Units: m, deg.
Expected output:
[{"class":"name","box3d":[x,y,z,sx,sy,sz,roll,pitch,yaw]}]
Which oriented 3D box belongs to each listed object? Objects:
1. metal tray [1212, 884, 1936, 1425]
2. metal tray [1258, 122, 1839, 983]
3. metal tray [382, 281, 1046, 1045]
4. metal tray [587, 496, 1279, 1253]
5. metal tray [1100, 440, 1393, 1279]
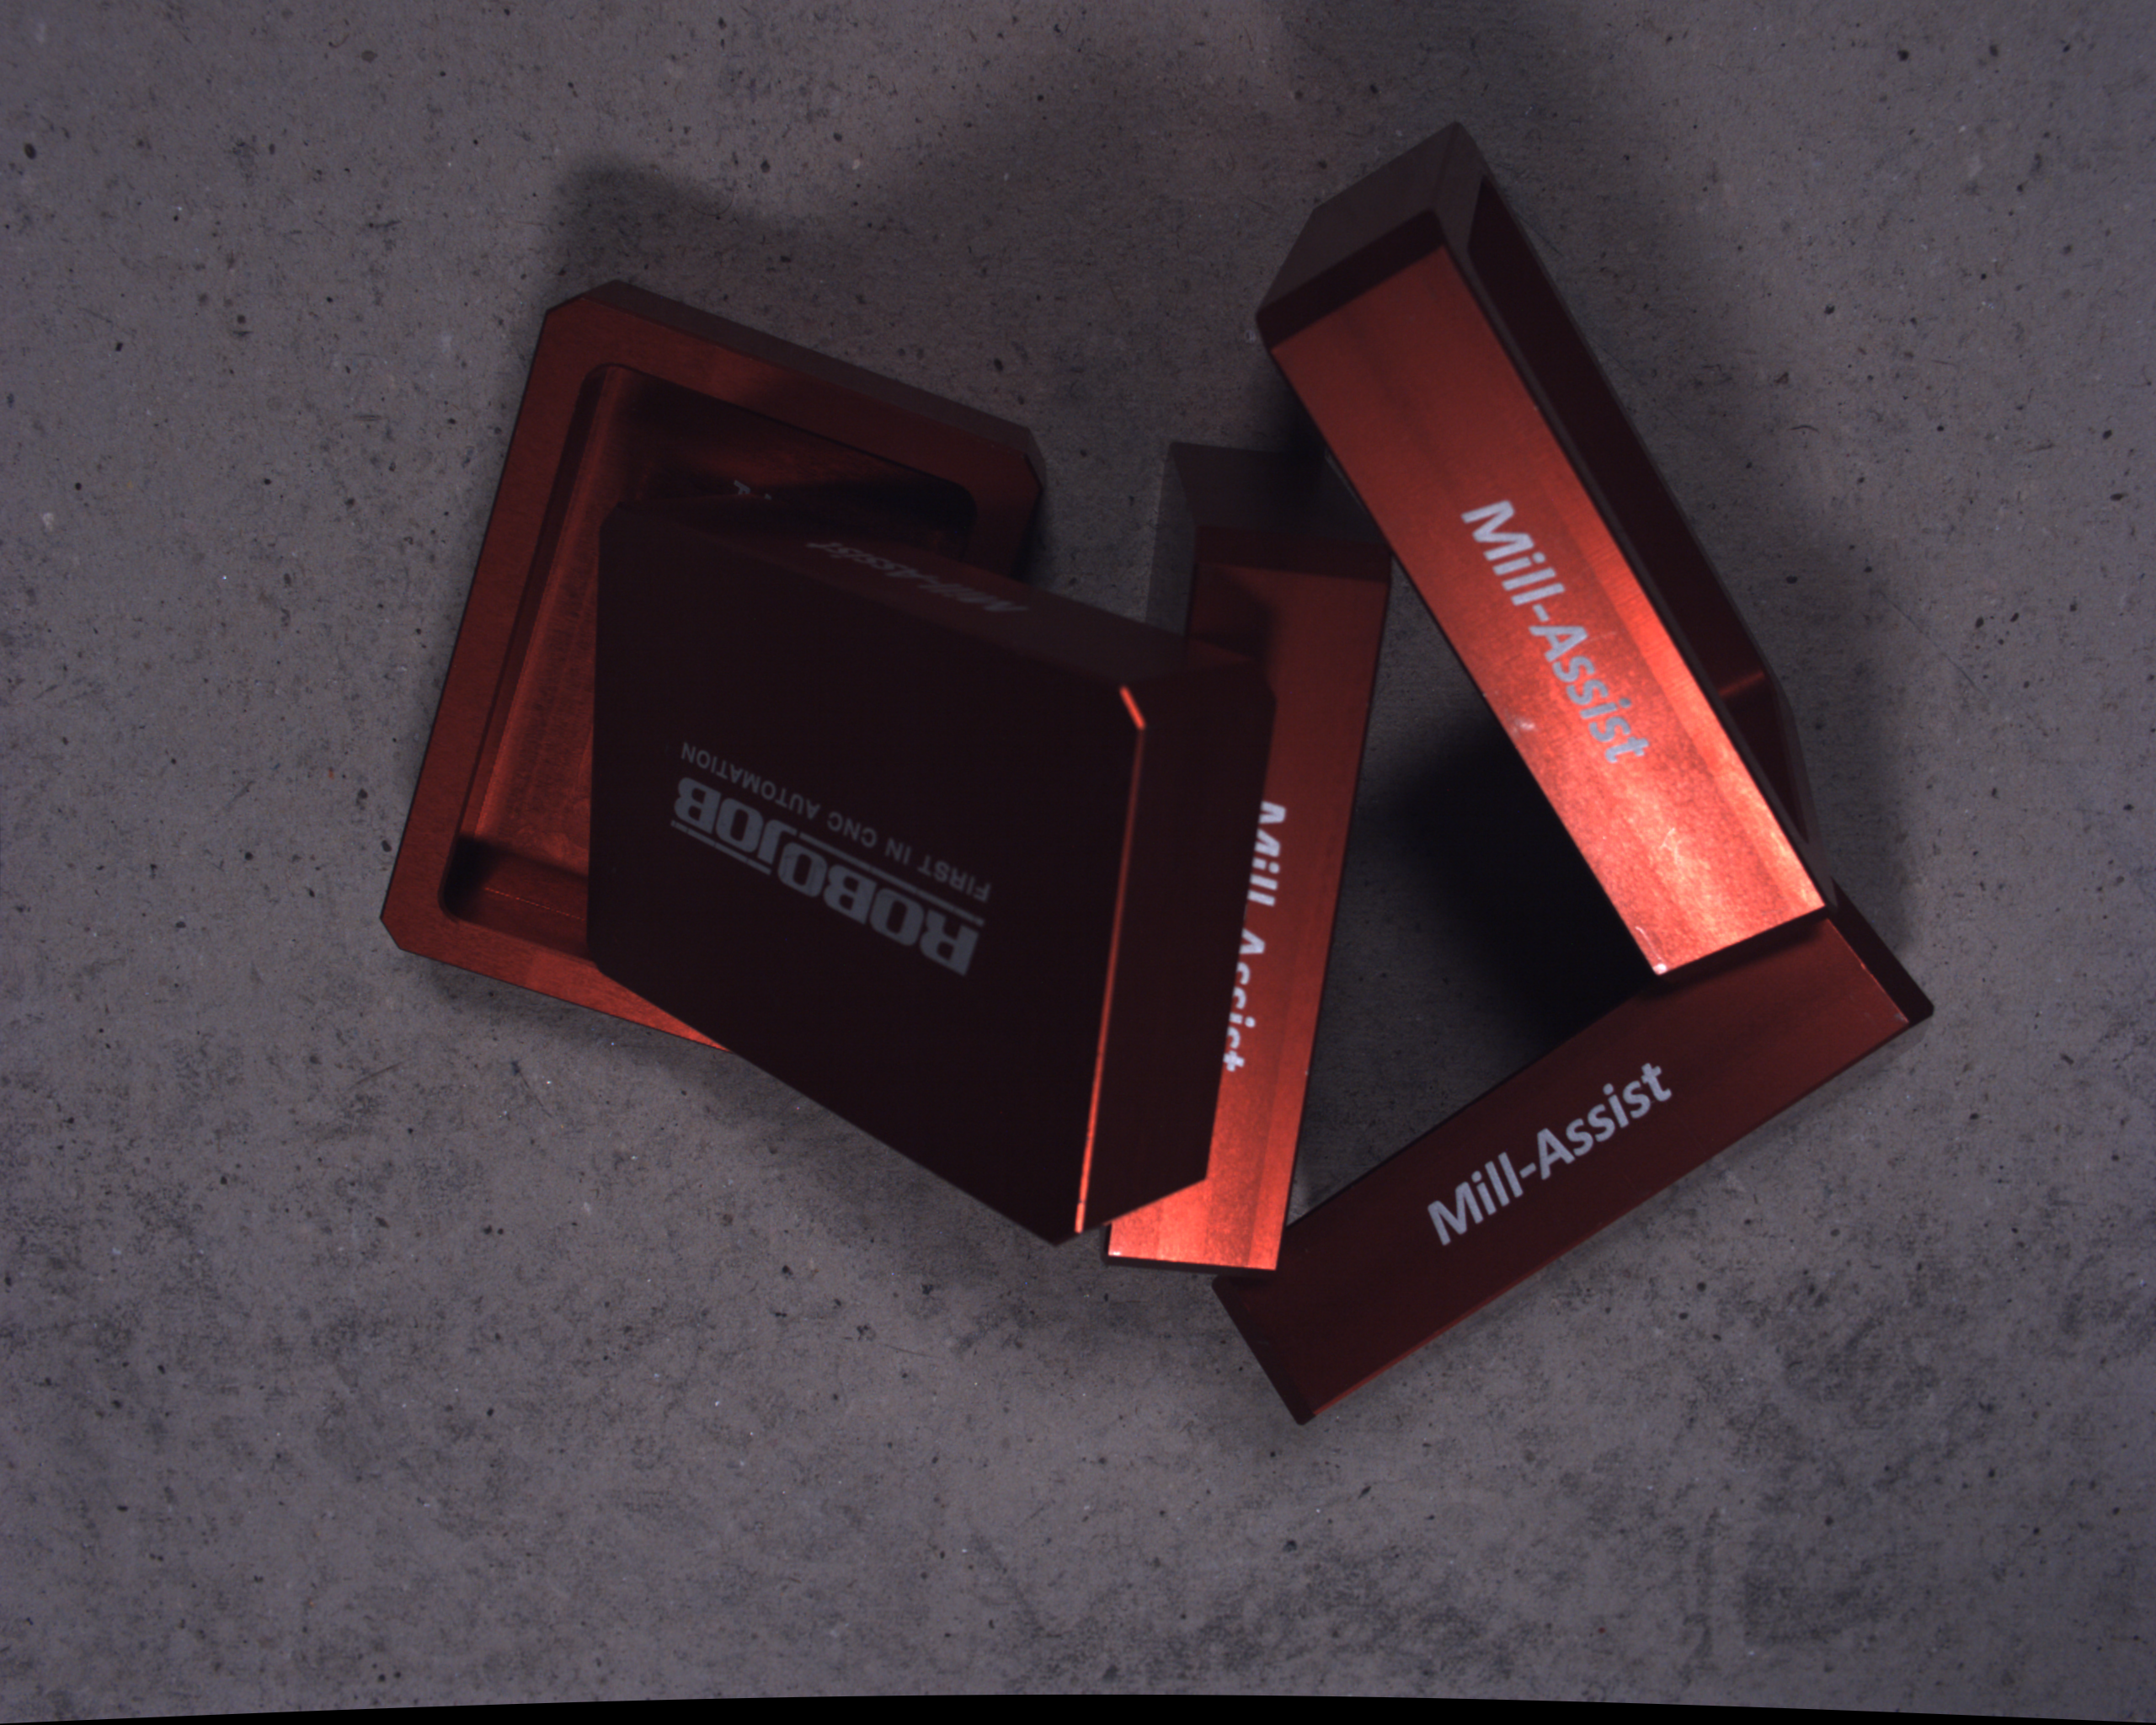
[{"class":"metal tray","box3d":[0.097,0.056,0.398,0.130,0.090,0.030,-36,71,12]},{"class":"metal tray","box3d":[0.082,-0.055,0.355,0.030,0.090,0.130,-27,109,24]},{"class":"metal tray","box3d":[-0.069,-0.033,0.395,0.091,0.030,0.129,19,109,-7]},{"class":"metal tray","box3d":[-0.031,-0.004,0.349,0.130,0.030,0.089,24,116,38]},{"class":"metal tray","box3d":[0.026,-0.003,0.376,0.030,0.090,0.129,6,111,-3]}]
